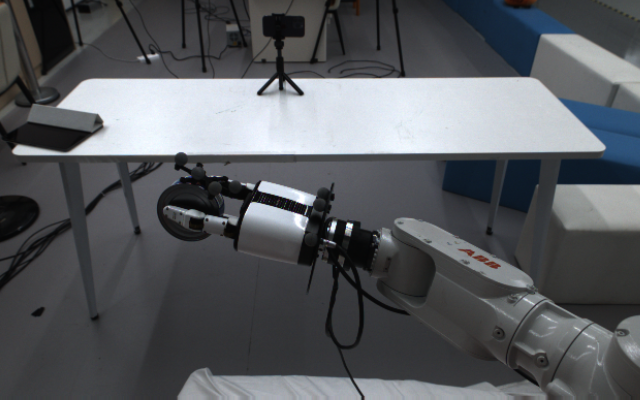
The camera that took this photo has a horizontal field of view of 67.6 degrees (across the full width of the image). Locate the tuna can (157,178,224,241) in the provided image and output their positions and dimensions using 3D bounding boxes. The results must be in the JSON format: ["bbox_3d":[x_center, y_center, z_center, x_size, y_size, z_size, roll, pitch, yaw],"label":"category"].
[{"bbox_3d":[-0.176,0.013,0.666,0.085,0.085,0.034,4,19,3],"label":"tuna can"}]
